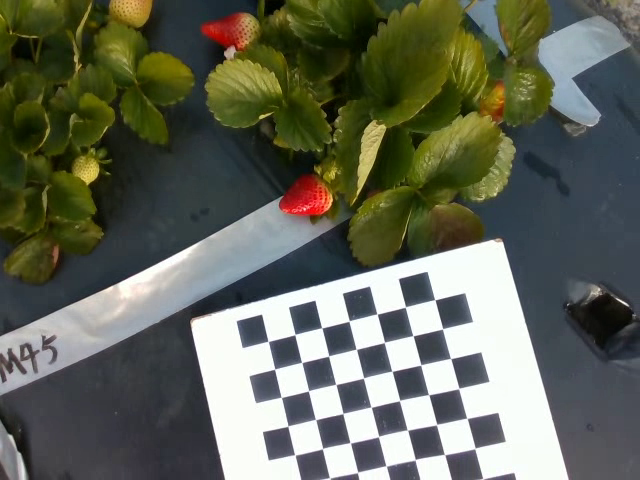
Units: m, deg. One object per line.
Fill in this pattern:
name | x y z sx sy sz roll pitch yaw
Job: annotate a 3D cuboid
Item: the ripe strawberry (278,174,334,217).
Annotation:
ripe strawberry | -0.013 -0.032 0.479 0.055 0.050 0.035 -21 -1 -9
